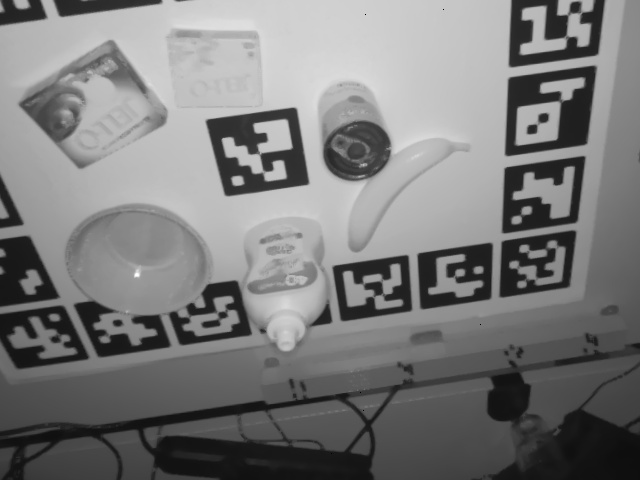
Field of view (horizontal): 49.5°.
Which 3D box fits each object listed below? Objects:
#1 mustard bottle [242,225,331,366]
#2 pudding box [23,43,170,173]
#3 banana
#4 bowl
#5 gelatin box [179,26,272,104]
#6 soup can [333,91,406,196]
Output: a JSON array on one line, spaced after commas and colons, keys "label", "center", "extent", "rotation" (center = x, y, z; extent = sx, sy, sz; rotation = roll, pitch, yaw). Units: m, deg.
[{"label": "mustard bottle", "center": [-0.038, 0.061, 0.764], "extent": [0.096, 0.192, 0.058], "rotation": [-6, 129, 0]}, {"label": "pudding box", "center": [-0.226, -0.135, 0.712], "extent": [0.113, 0.039, 0.090], "rotation": [-27, 118, 13]}, {"label": "banana", "center": [0.099, -0.041, 0.815], "extent": [0.075, 0.039, 0.195], "rotation": [24, 120, -33]}, {"label": "bowl", "center": [-0.214, 0.020, 0.817], "extent": [0.162, 0.055, 0.160], "rotation": [-4, 126, -5]}, {"label": "gelatin box", "center": [-0.094, -0.177, 0.703], "extent": [0.090, 0.030, 0.072], "rotation": [-2, 122, -6]}, {"label": "soup can", "center": [0.049, -0.102, 0.716], "extent": [0.068, 0.103, 0.067], "rotation": [-2, 127, -2]}]
